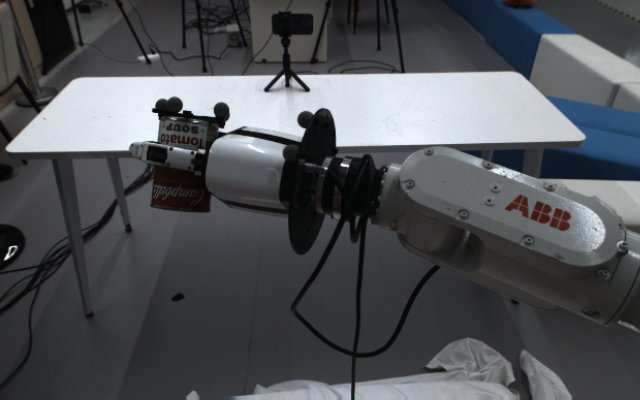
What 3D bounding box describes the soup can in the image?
[{"bbox_3d":[-0.154,-0.039,0.555,0.067,0.101,0.067,7,3,0],"label":"soup can"}]
